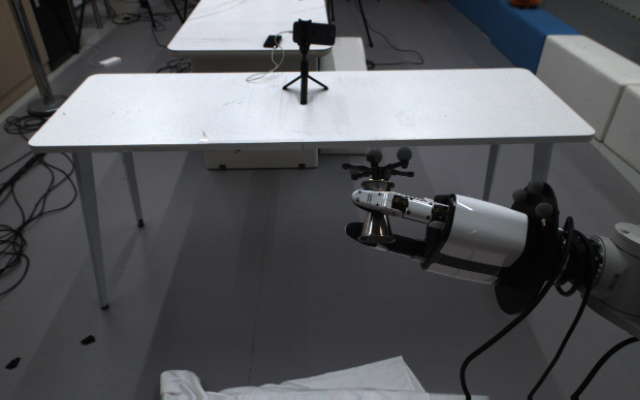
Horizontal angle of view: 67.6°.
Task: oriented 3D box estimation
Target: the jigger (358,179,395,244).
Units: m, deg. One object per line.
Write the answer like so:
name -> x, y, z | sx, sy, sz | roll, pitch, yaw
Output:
jigger -> 0.067, 0.013, 0.572 | 0.043, 0.043, 0.071 | 3, 75, 1
